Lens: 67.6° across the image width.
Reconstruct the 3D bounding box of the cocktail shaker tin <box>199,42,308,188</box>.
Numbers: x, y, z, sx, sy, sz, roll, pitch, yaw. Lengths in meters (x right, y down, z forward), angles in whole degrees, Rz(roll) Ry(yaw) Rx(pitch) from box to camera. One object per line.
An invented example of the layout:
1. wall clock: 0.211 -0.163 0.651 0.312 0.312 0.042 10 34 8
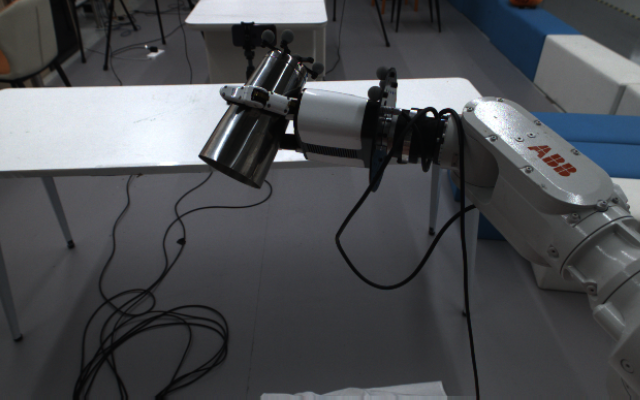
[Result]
1. cocktail shaker tin: -0.081 -0.114 0.651 0.093 0.093 0.170 21 81 25
